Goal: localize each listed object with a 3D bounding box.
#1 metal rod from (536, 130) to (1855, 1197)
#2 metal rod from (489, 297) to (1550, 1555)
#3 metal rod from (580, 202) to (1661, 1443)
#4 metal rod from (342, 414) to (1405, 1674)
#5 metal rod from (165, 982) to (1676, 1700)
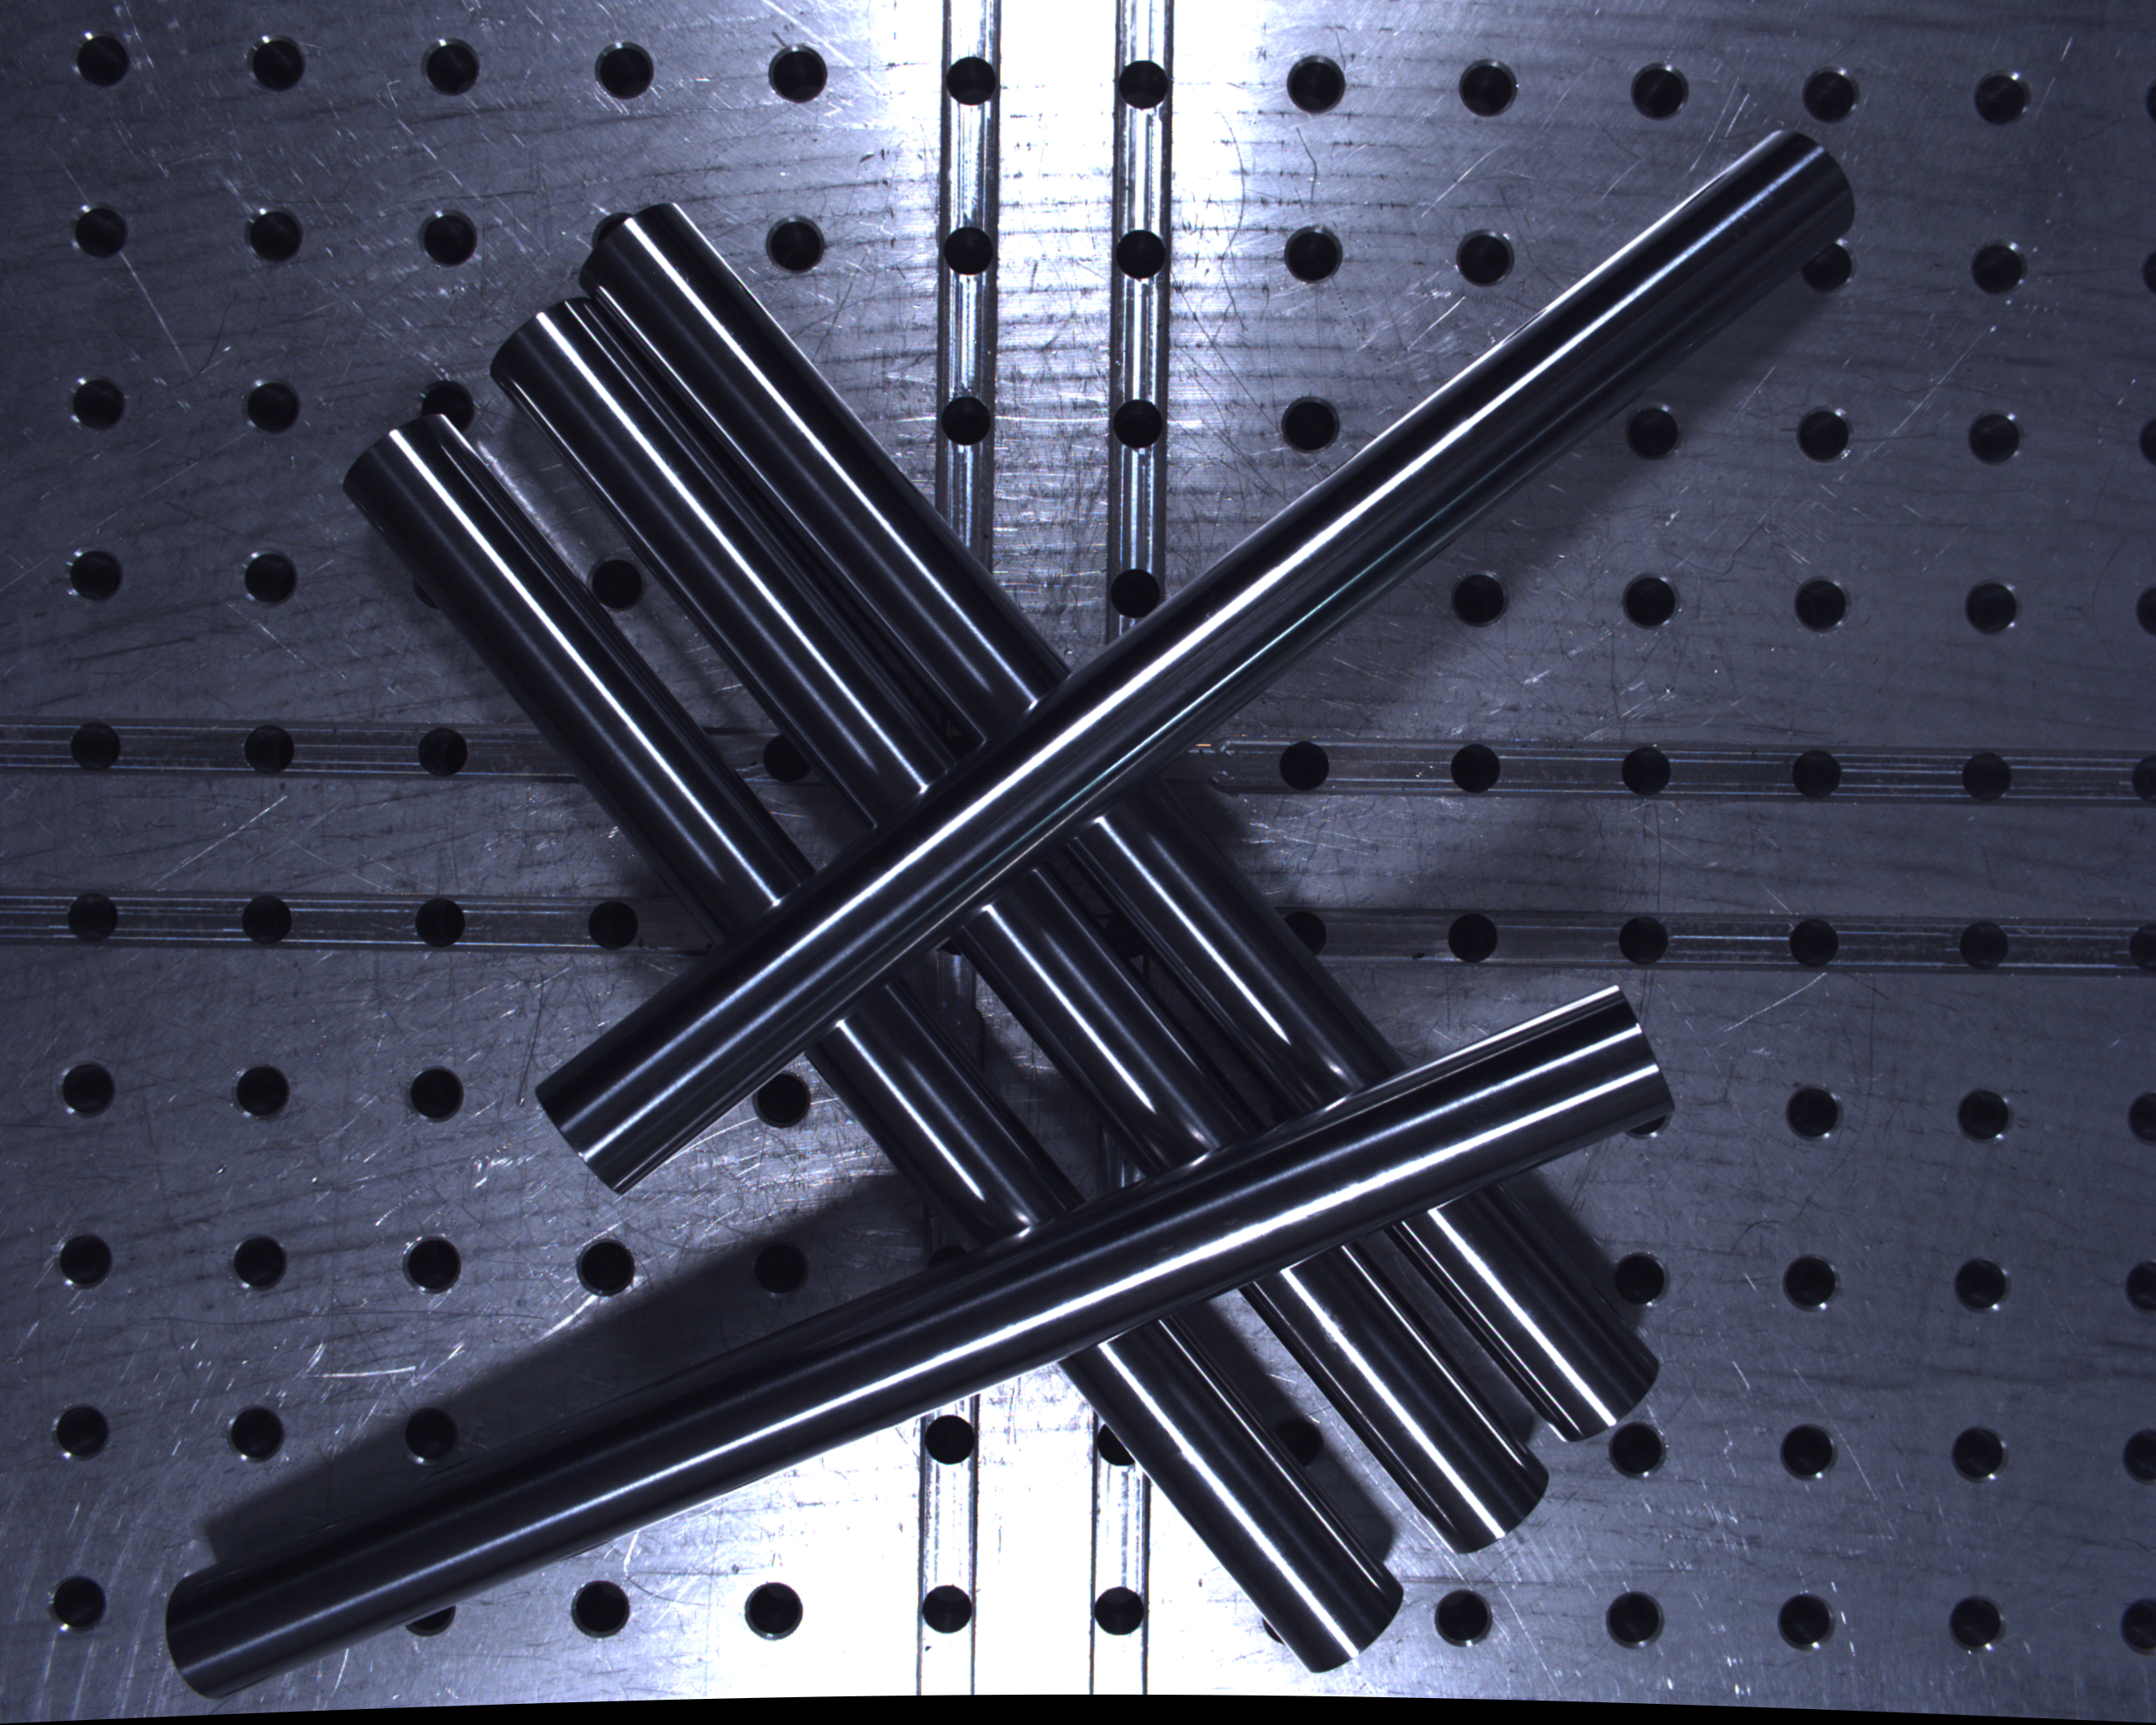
[{"bbox_3d":[0.028,-0.043,0.393,0.301,0.025,0.025,-38,90,-8],"label":"metal rod"},{"bbox_3d":[-0.011,0.013,0.413,0.025,0.025,0.300,-39,91,0],"label":"metal rod"},{"bbox_3d":[0.009,-0.008,0.413,0.025,0.025,0.300,-40,91,0],"label":"metal rod"},{"bbox_3d":[-0.040,0.036,0.413,0.025,0.025,0.300,-39,91,0],"label":"metal rod"},{"bbox_3d":[-0.035,0.093,0.392,0.301,0.025,0.025,-24,90,8],"label":"metal rod"}]
